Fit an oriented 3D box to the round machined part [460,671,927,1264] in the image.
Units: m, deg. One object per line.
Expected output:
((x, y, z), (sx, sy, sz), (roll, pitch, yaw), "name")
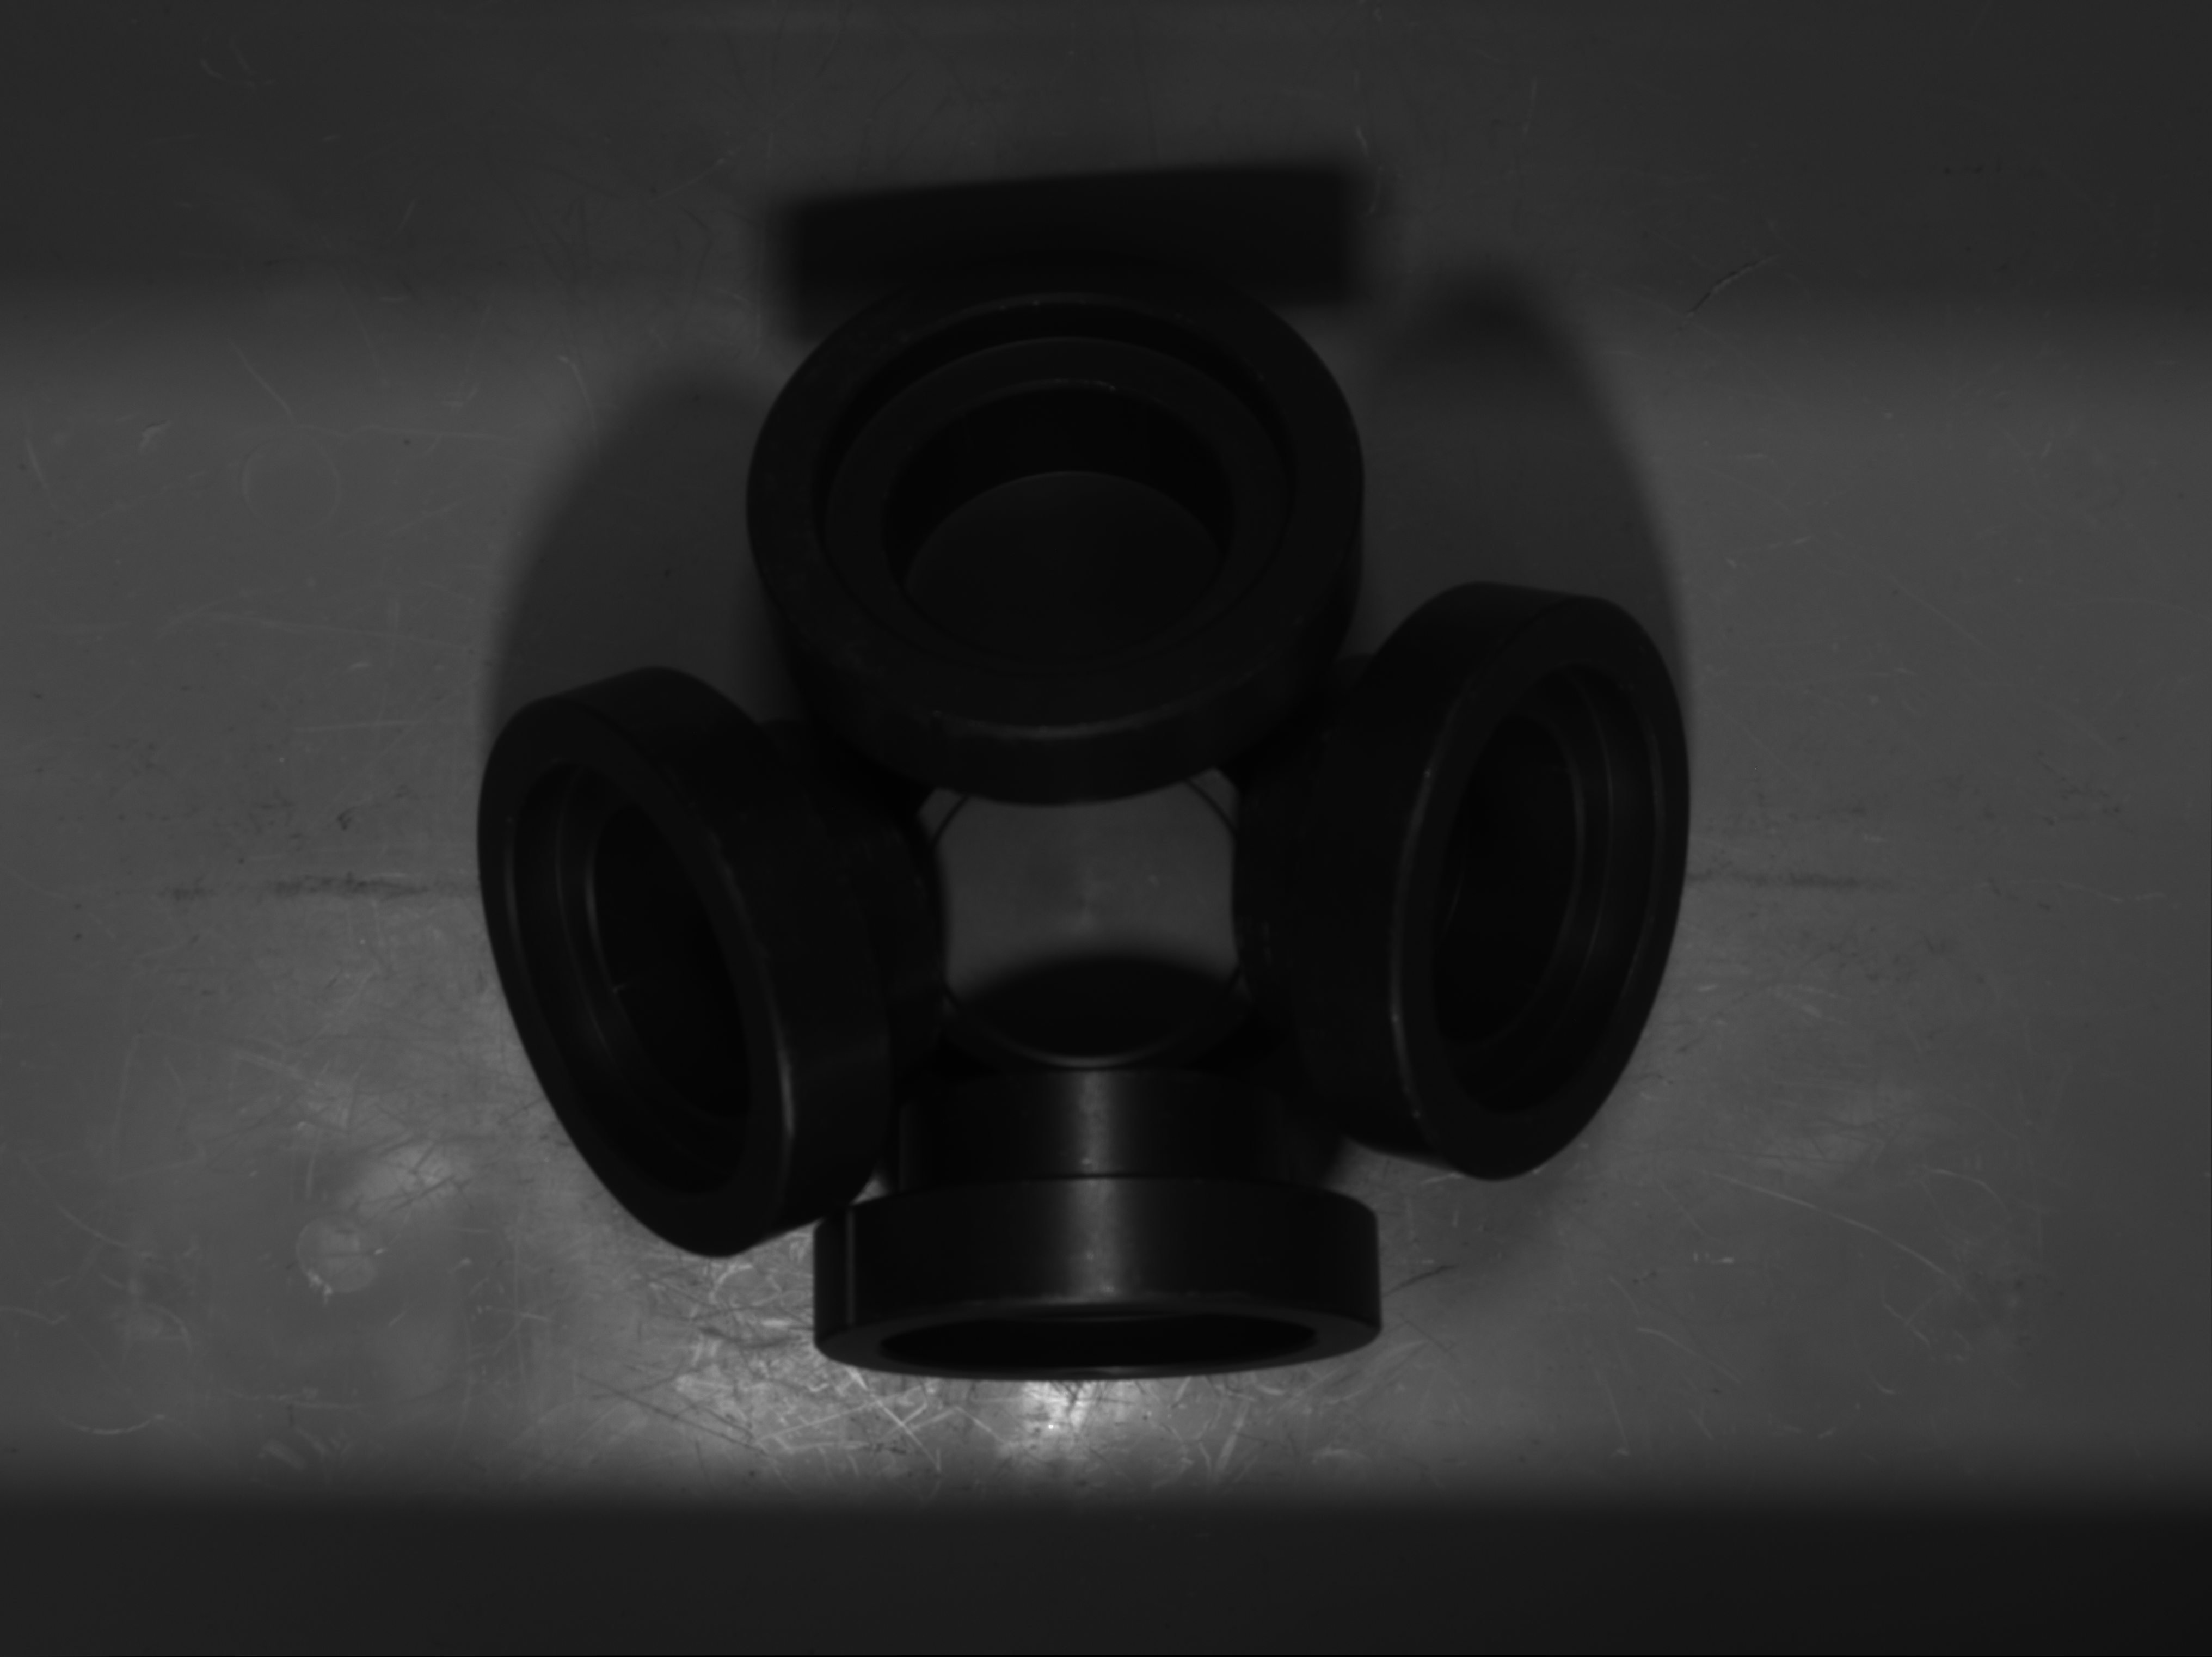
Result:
((-0.067, 0.020, 0.620), (0.042, 0.098, 0.098), (-20, 114, -33), "round machined part")

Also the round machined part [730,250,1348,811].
((-0.010, -0.044, 0.597), (0.098, 0.098, 0.042), (-4, 148, 1), "round machined part")

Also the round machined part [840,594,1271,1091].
((-0.006, 0.007, 0.635), (0.098, 0.042, 0.098), (0, 110, -1), "round machined part")

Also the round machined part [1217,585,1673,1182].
((0.055, 0.007, 0.617), (0.042, 0.098, 0.098), (11, 114, 34), "round machined part")

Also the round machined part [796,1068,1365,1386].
((-0.005, 0.069, 0.638), (0.098, 0.098, 0.042), (-1, 74, 0), "round machined part")
